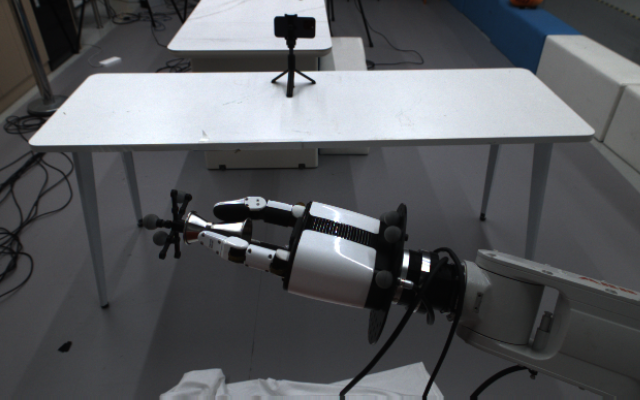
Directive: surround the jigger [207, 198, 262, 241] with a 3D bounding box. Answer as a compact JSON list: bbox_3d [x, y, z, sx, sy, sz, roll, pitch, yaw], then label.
[{"bbox_3d":[-0.107,0.031,0.556,0.071,0.043,0.043,7,35,7],"label":"jigger"}]
